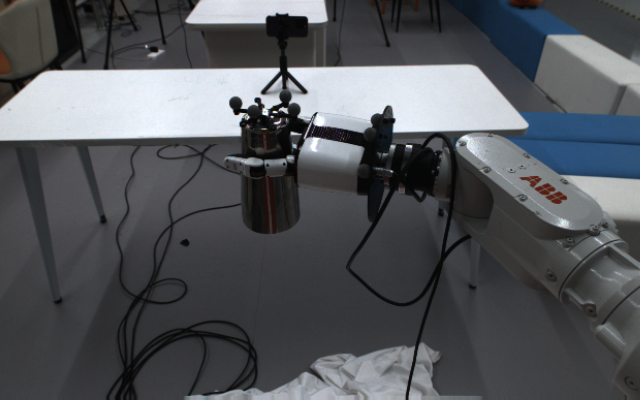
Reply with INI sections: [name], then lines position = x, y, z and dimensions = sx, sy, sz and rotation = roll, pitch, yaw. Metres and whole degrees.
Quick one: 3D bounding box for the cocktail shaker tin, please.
[cocktail shaker tin]
position = -0.073, -0.047, 0.710
dimensions = 0.093, 0.170, 0.093
rotation = 1, 39, -1
